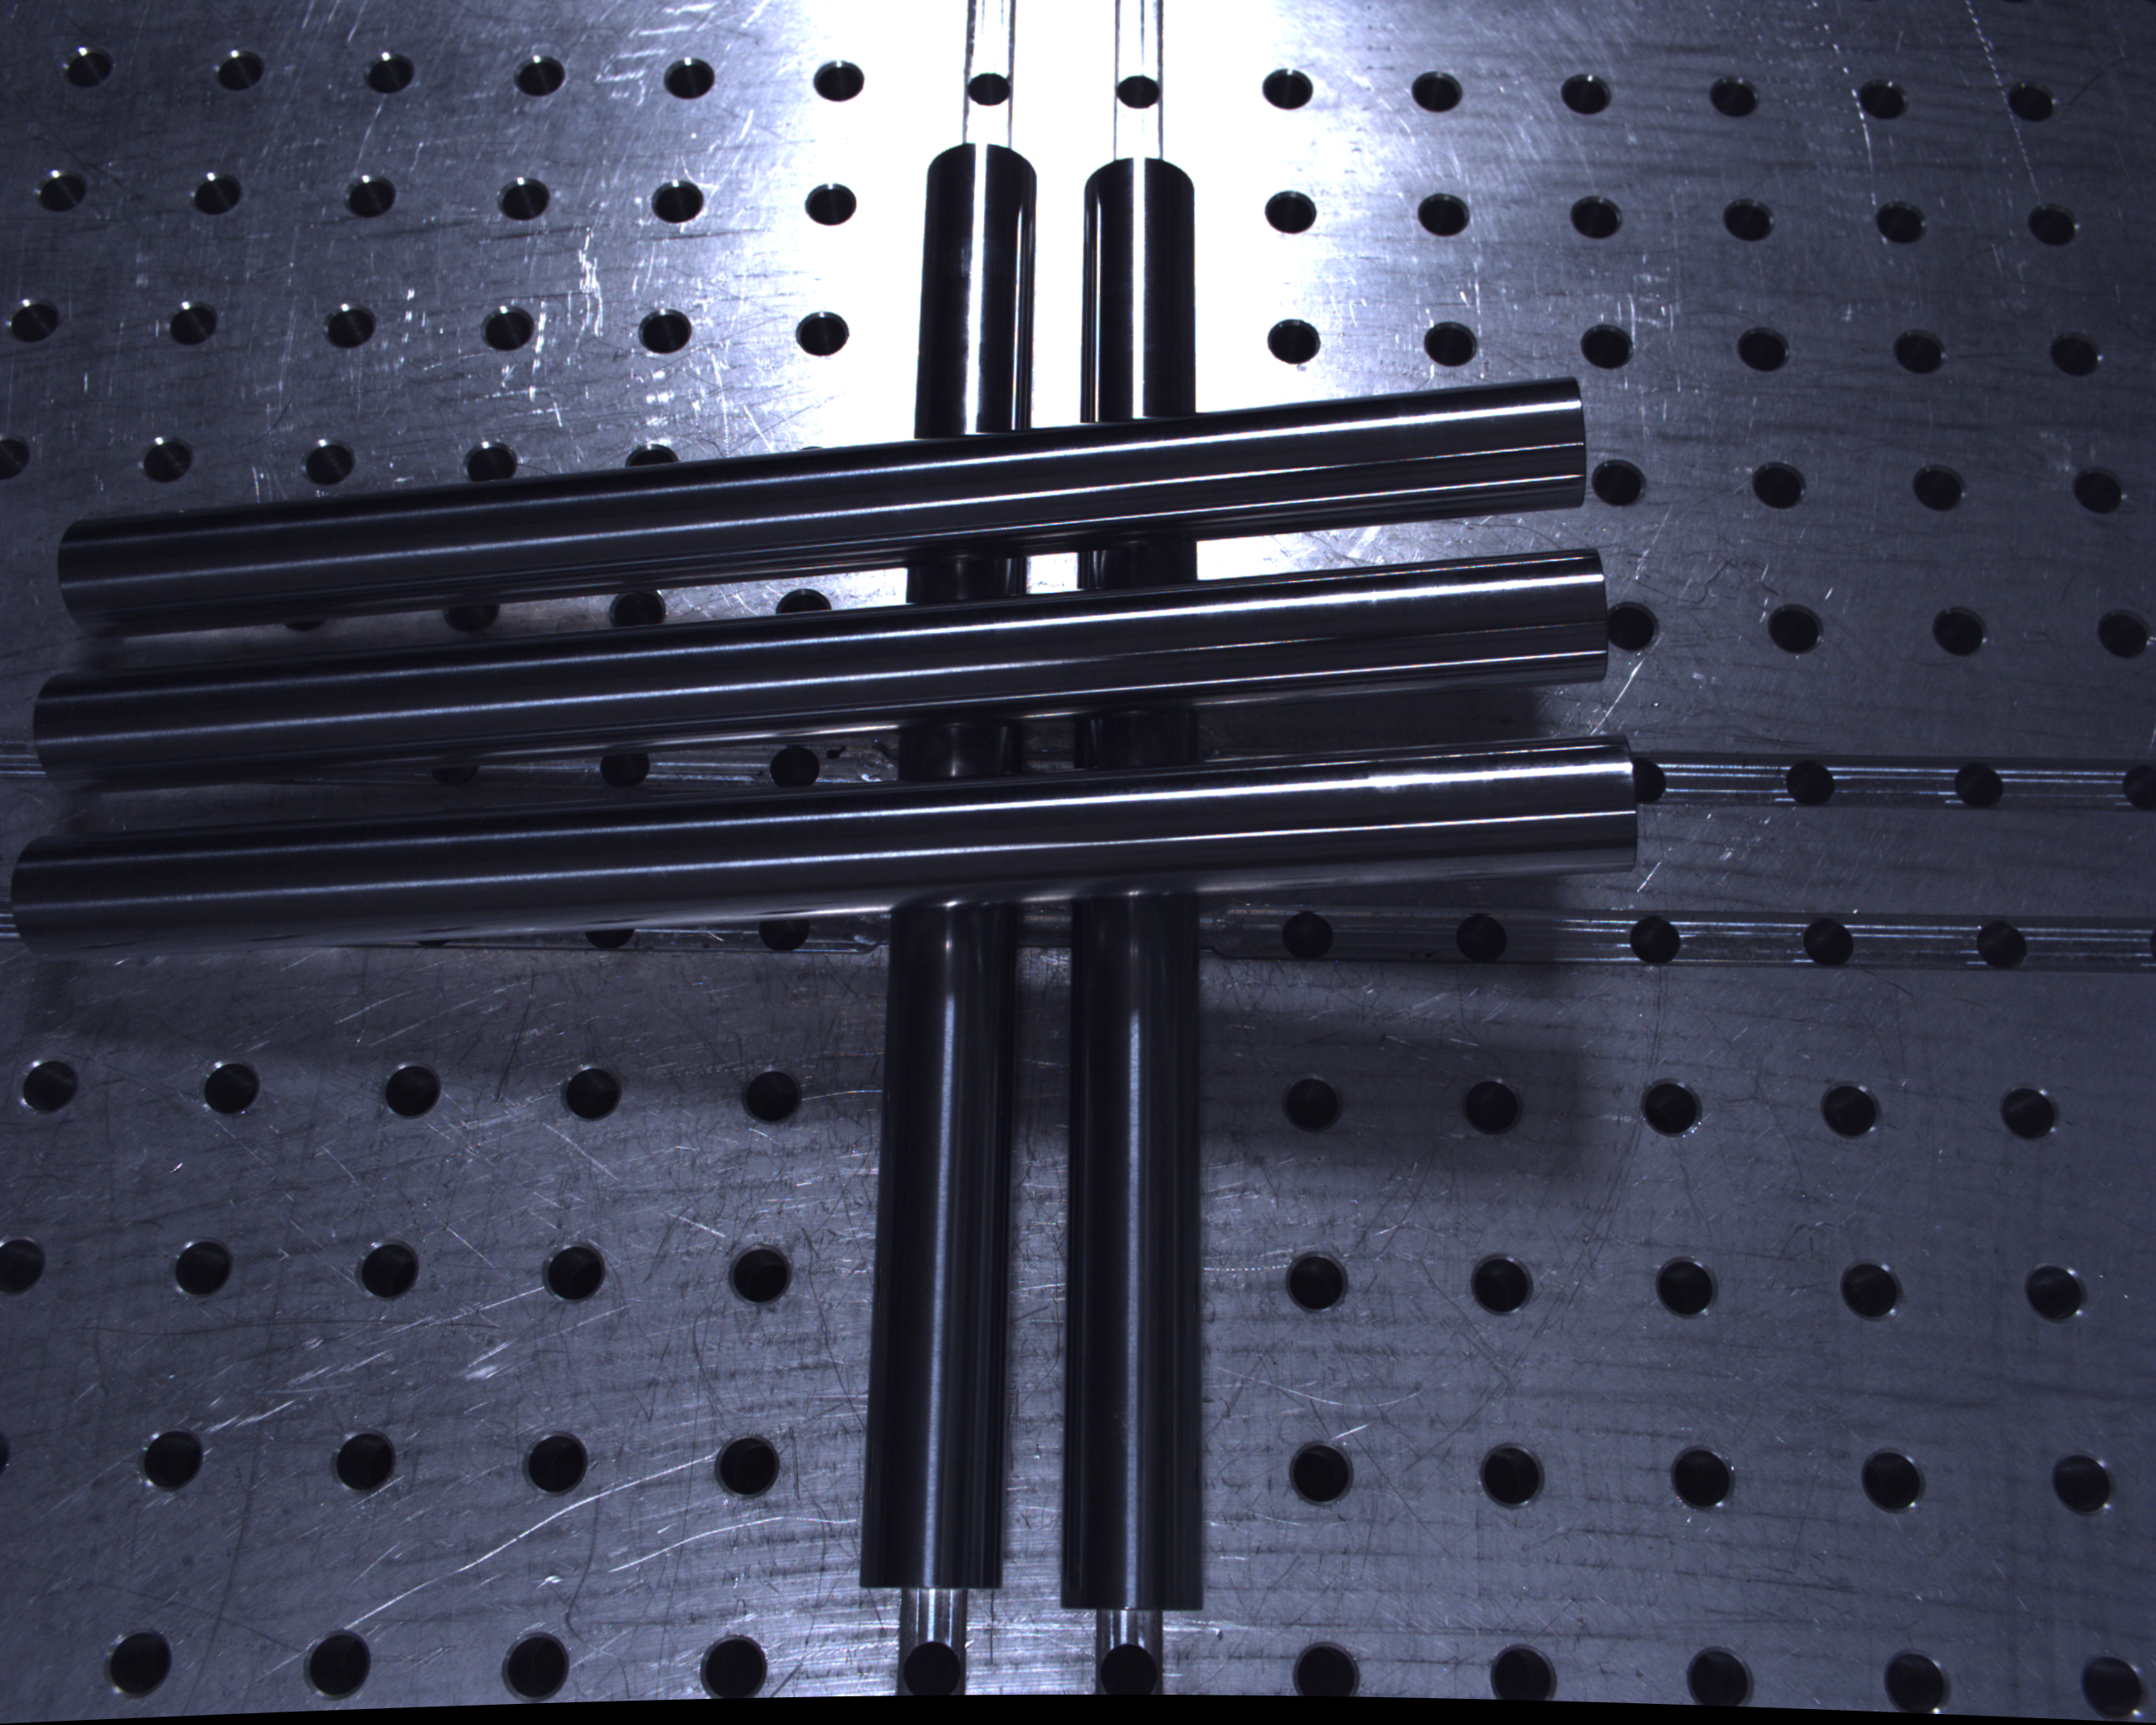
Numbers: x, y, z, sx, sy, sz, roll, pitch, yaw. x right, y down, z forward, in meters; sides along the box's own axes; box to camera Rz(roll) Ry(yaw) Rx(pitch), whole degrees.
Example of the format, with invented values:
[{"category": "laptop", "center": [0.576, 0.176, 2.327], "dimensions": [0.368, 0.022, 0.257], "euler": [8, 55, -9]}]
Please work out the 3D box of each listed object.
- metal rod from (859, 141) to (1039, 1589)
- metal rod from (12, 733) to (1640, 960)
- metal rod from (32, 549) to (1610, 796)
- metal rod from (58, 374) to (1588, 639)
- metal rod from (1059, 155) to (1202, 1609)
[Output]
[{"category": "metal rod", "center": [-0.023, -0.013, 0.416], "dimensions": [0.025, 0.025, 0.299], "euler": [1, 70, 0]}, {"category": "metal rod", "center": [-0.051, -0.002, 0.389], "dimensions": [0.302, 0.025, 0.025], "euler": [-3, 70, 7]}, {"category": "metal rod", "center": [-0.053, -0.036, 0.402], "dimensions": [0.302, 0.025, 0.025], "euler": [-4, 70, 7]}, {"category": "metal rod", "center": [-0.054, -0.070, 0.415], "dimensions": [0.302, 0.025, 0.025], "euler": [-4, 70, 6]}, {"category": "metal rod", "center": [0.011, -0.010, 0.416], "dimensions": [0.025, 0.025, 0.299], "euler": [1, 70, 0]}]
